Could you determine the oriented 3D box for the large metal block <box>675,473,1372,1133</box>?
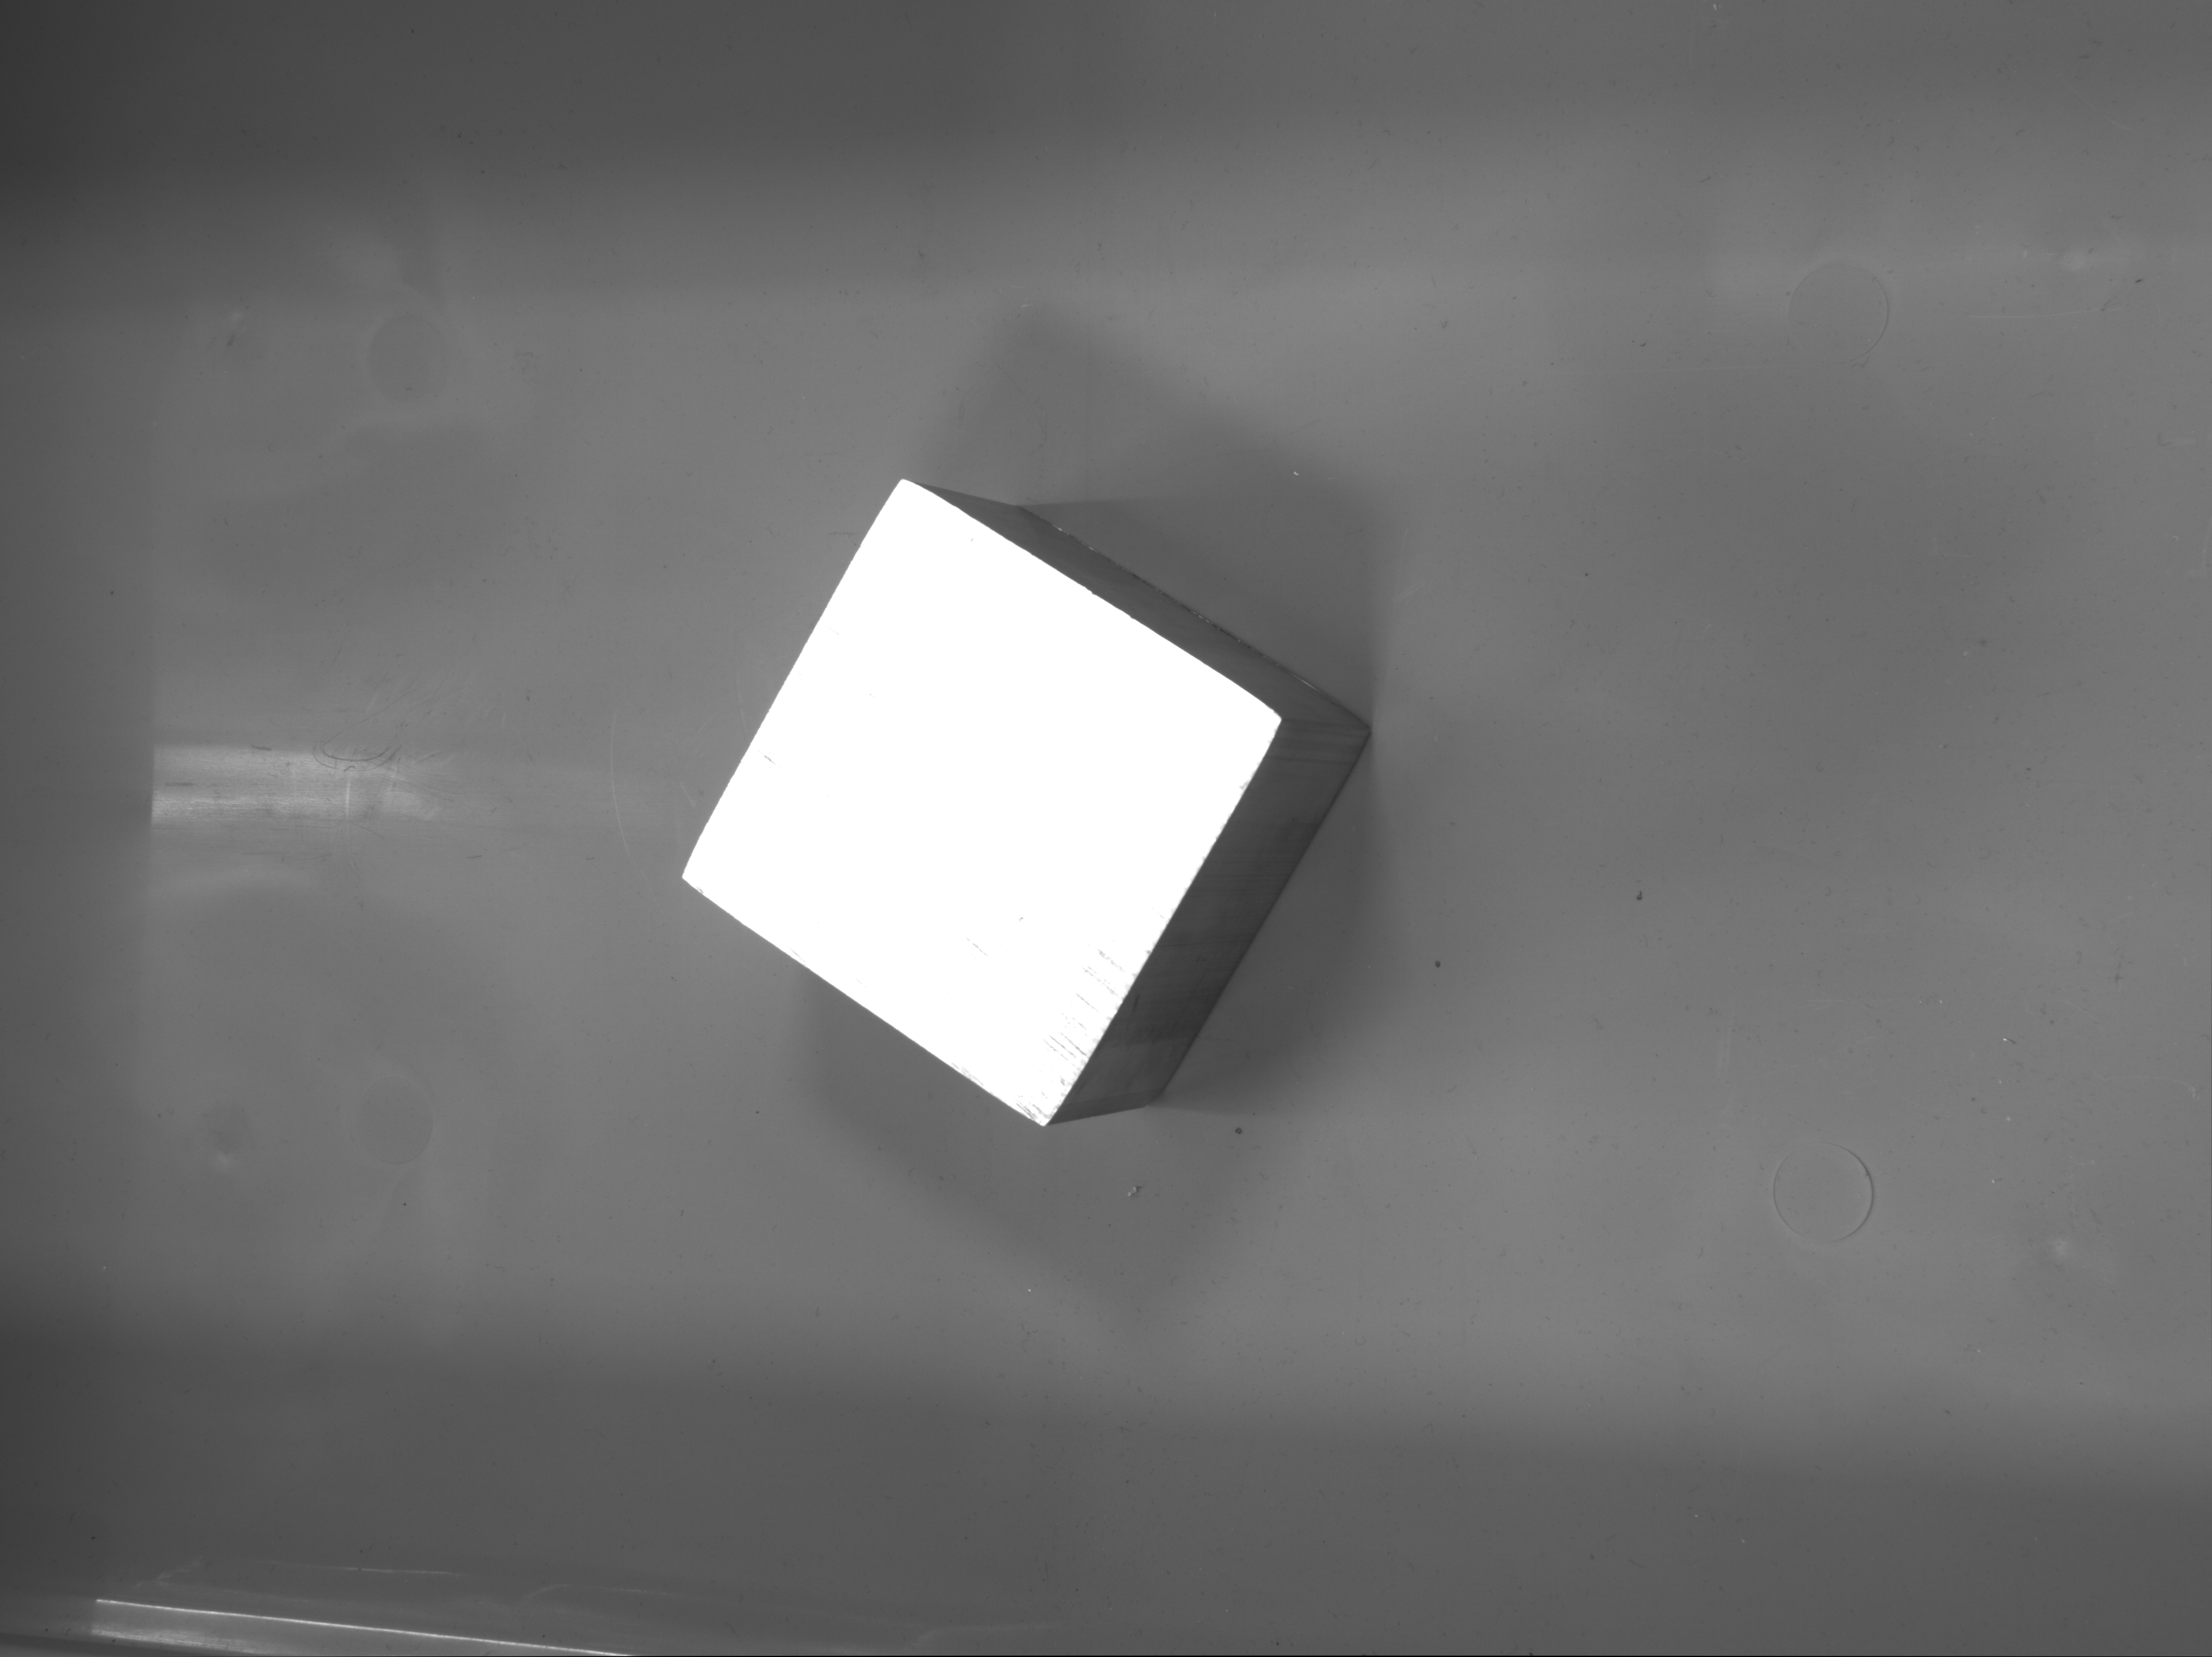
[{"bbox_3d":[-0.014,-0.004,0.635,0.080,0.050,0.080,33,100,17],"label":"large metal block"}]
